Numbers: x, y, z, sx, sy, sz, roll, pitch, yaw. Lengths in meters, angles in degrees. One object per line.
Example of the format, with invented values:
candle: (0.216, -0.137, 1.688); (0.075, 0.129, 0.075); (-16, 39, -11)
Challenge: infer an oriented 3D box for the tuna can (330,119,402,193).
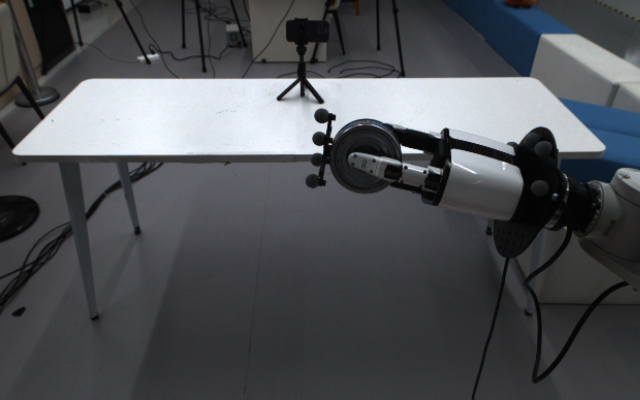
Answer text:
tuna can: (0.057, -0.049, 0.573); (0.085, 0.085, 0.034); (4, 18, 3)
